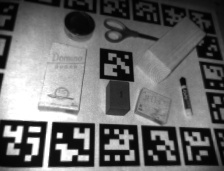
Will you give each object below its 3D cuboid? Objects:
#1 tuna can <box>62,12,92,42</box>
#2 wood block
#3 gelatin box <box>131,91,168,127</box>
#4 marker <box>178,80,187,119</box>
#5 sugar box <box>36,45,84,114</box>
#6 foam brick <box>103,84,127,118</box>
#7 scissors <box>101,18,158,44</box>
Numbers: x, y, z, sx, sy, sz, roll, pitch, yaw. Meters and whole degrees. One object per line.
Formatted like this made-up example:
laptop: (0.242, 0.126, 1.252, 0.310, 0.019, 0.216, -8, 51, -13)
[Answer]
tuna can: (-0.104, -0.170, 0.633, 0.086, 0.033, 0.085, 6, 68, -13)
wood block: (0.183, -0.099, 0.662, 0.089, 0.091, 0.207, 46, 64, 7)
gelatin box: (0.105, 0.066, 0.604, 0.089, 0.030, 0.073, 23, 65, -5)
marker: (0.211, 0.040, 0.648, 0.020, 0.019, 0.121, 7, 69, -12)
sugar box: (-0.131, -0.017, 0.563, 0.093, 0.045, 0.176, 11, 67, -12)
foam brick: (0.007, 0.042, 0.570, 0.053, 0.051, 0.078, 7, 68, -12)
scissors: (0.062, -0.157, 0.688, 0.204, 0.016, 0.087, 12, 66, -9)
